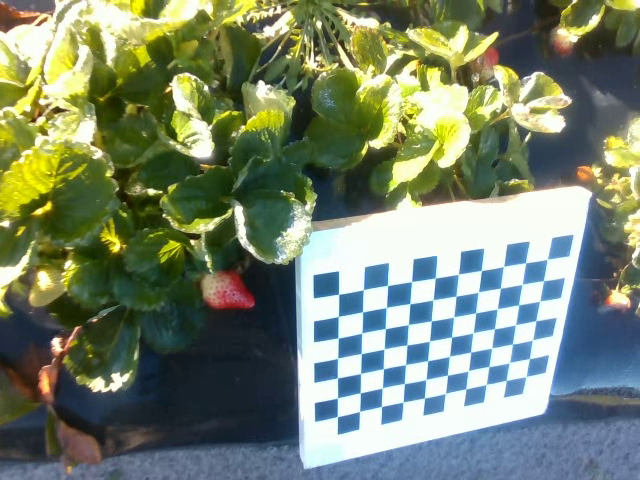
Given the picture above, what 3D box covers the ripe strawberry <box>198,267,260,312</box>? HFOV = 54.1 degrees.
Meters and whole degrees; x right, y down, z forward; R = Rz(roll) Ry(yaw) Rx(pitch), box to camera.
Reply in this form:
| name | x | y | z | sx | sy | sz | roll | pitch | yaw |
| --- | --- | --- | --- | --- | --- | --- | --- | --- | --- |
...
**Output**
| name | x | y | z | sx | sy | sz | roll | pitch | yaw |
| --- | --- | --- | --- | --- | --- | --- | --- | --- | --- |
| ripe strawberry | -0.088 | 0.056 | 0.590 | 0.065 | 0.040 | 0.040 | 34 | 9 | -28 |
